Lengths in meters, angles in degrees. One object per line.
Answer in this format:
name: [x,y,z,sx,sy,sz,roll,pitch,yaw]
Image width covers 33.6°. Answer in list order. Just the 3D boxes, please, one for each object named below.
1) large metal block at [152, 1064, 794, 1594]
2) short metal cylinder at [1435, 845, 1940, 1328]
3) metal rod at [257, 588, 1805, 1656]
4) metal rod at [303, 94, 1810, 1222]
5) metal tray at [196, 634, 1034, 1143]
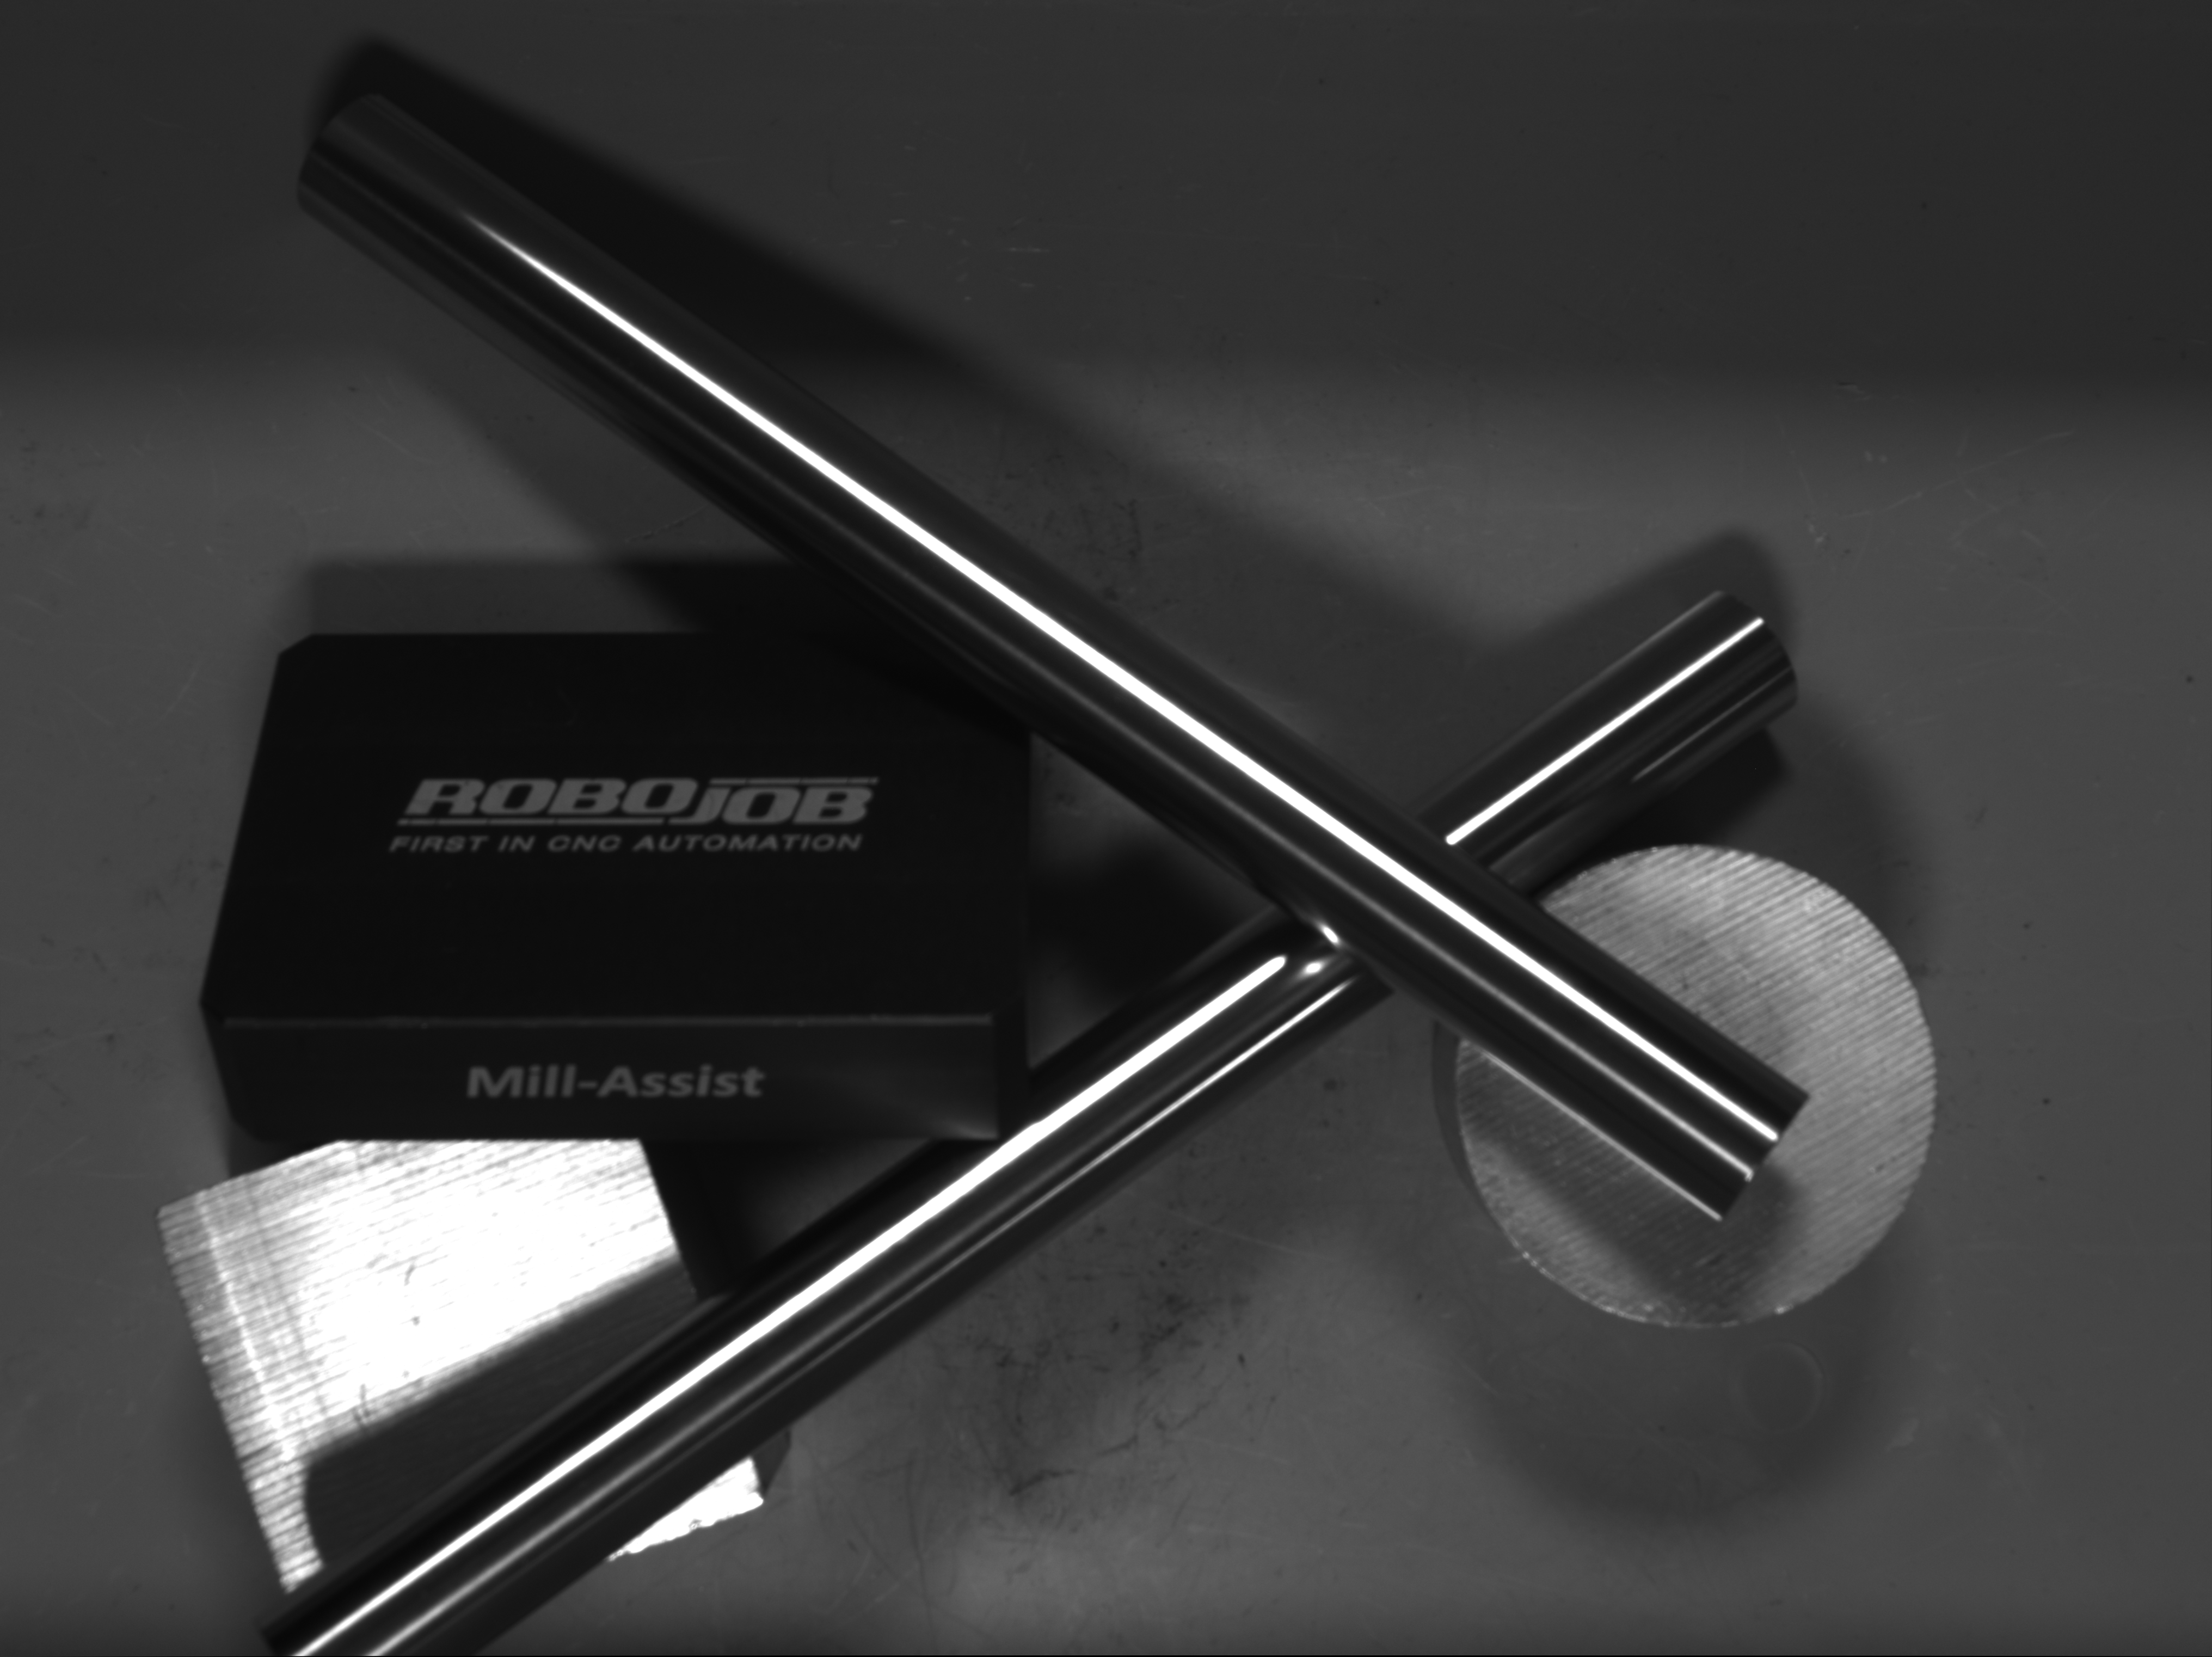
large metal block: [-0.106,0.088,0.627,0.080,0.050,0.080,-19,90,0]
short metal cylinder: [0.098,0.043,0.631,0.080,0.050,0.080,0,90,0]
metal rod: [-0.005,0.051,0.607,0.300,0.025,0.025,-35,90,-14]
metal rod: [-0.014,-0.033,0.615,0.300,0.025,0.025,36,90,12]
metal tray: [-0.077,0.009,0.613,0.130,0.030,0.090,0,46,1]
